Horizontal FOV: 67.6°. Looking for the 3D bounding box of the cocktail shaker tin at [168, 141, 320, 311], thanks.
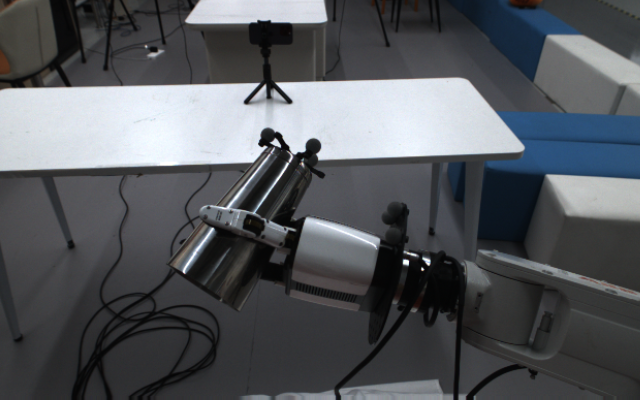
[{"bbox_3d":[-0.080,0.022,0.536,0.093,0.093,0.170,22,67,26],"label":"cocktail shaker tin"}]
